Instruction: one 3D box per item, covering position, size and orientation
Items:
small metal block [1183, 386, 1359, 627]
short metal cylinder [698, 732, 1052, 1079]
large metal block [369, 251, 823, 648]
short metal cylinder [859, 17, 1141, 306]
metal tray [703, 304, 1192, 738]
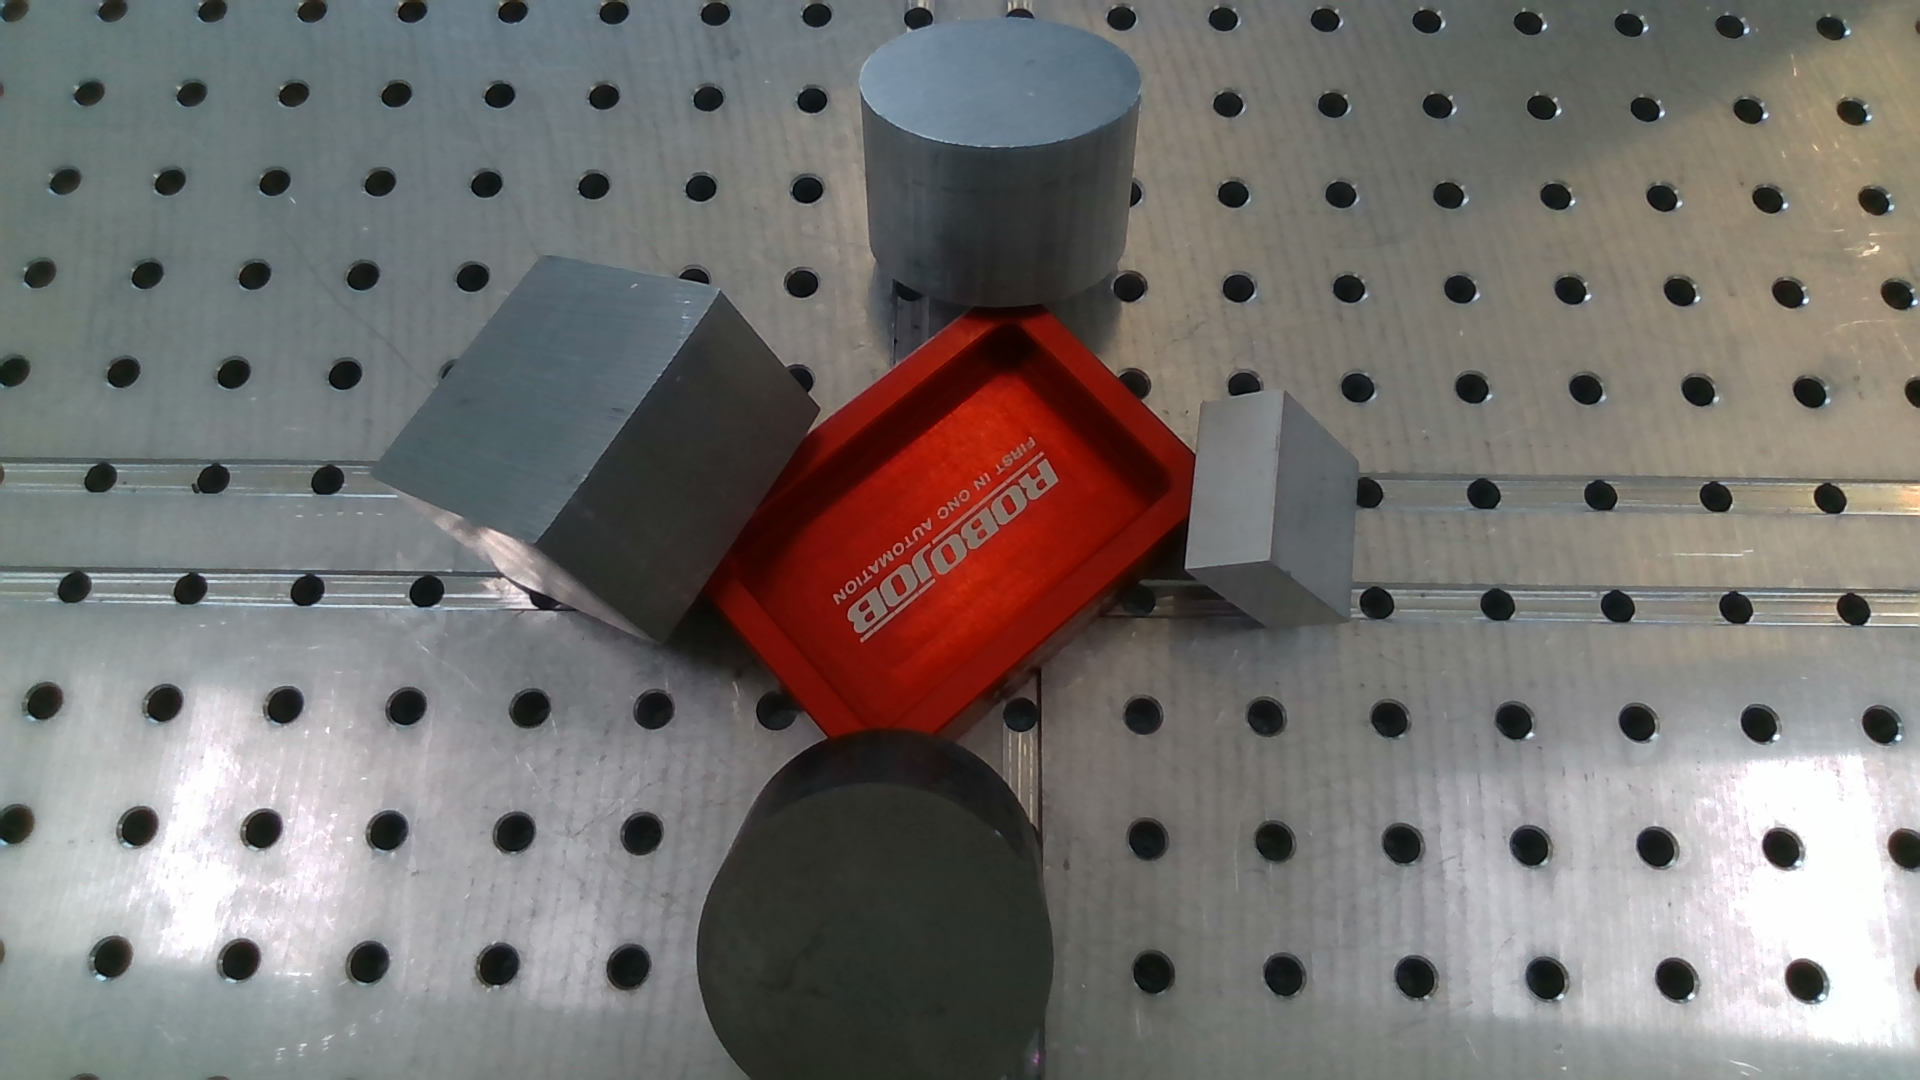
[{"bbox_3d":[0.088,-0.008,0.385,0.025,0.050,0.050,-7,65,38],"label":"small metal block"},{"bbox_3d":[-0.019,0.091,0.336,0.080,0.050,0.080,0,97,0],"label":"short metal cylinder"},{"bbox_3d":[-0.099,-0.027,0.376,0.080,0.050,0.080,18,69,39],"label":"large metal block"},{"bbox_3d":[0.011,-0.114,0.409,0.080,0.050,0.080,0,45,0],"label":"short metal cylinder"},{"bbox_3d":[-0.003,-0.002,0.396,0.130,0.030,0.090,-40,75,-13],"label":"metal tray"}]
